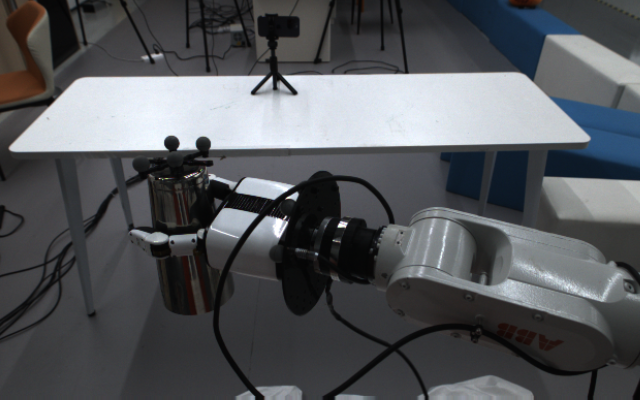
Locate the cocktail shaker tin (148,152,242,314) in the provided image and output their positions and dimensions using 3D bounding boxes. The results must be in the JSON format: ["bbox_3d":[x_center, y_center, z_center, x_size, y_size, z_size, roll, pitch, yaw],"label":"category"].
[{"bbox_3d":[-0.156,0.042,0.584,0.093,0.170,0.093,-2,26,1],"label":"cocktail shaker tin"}]
